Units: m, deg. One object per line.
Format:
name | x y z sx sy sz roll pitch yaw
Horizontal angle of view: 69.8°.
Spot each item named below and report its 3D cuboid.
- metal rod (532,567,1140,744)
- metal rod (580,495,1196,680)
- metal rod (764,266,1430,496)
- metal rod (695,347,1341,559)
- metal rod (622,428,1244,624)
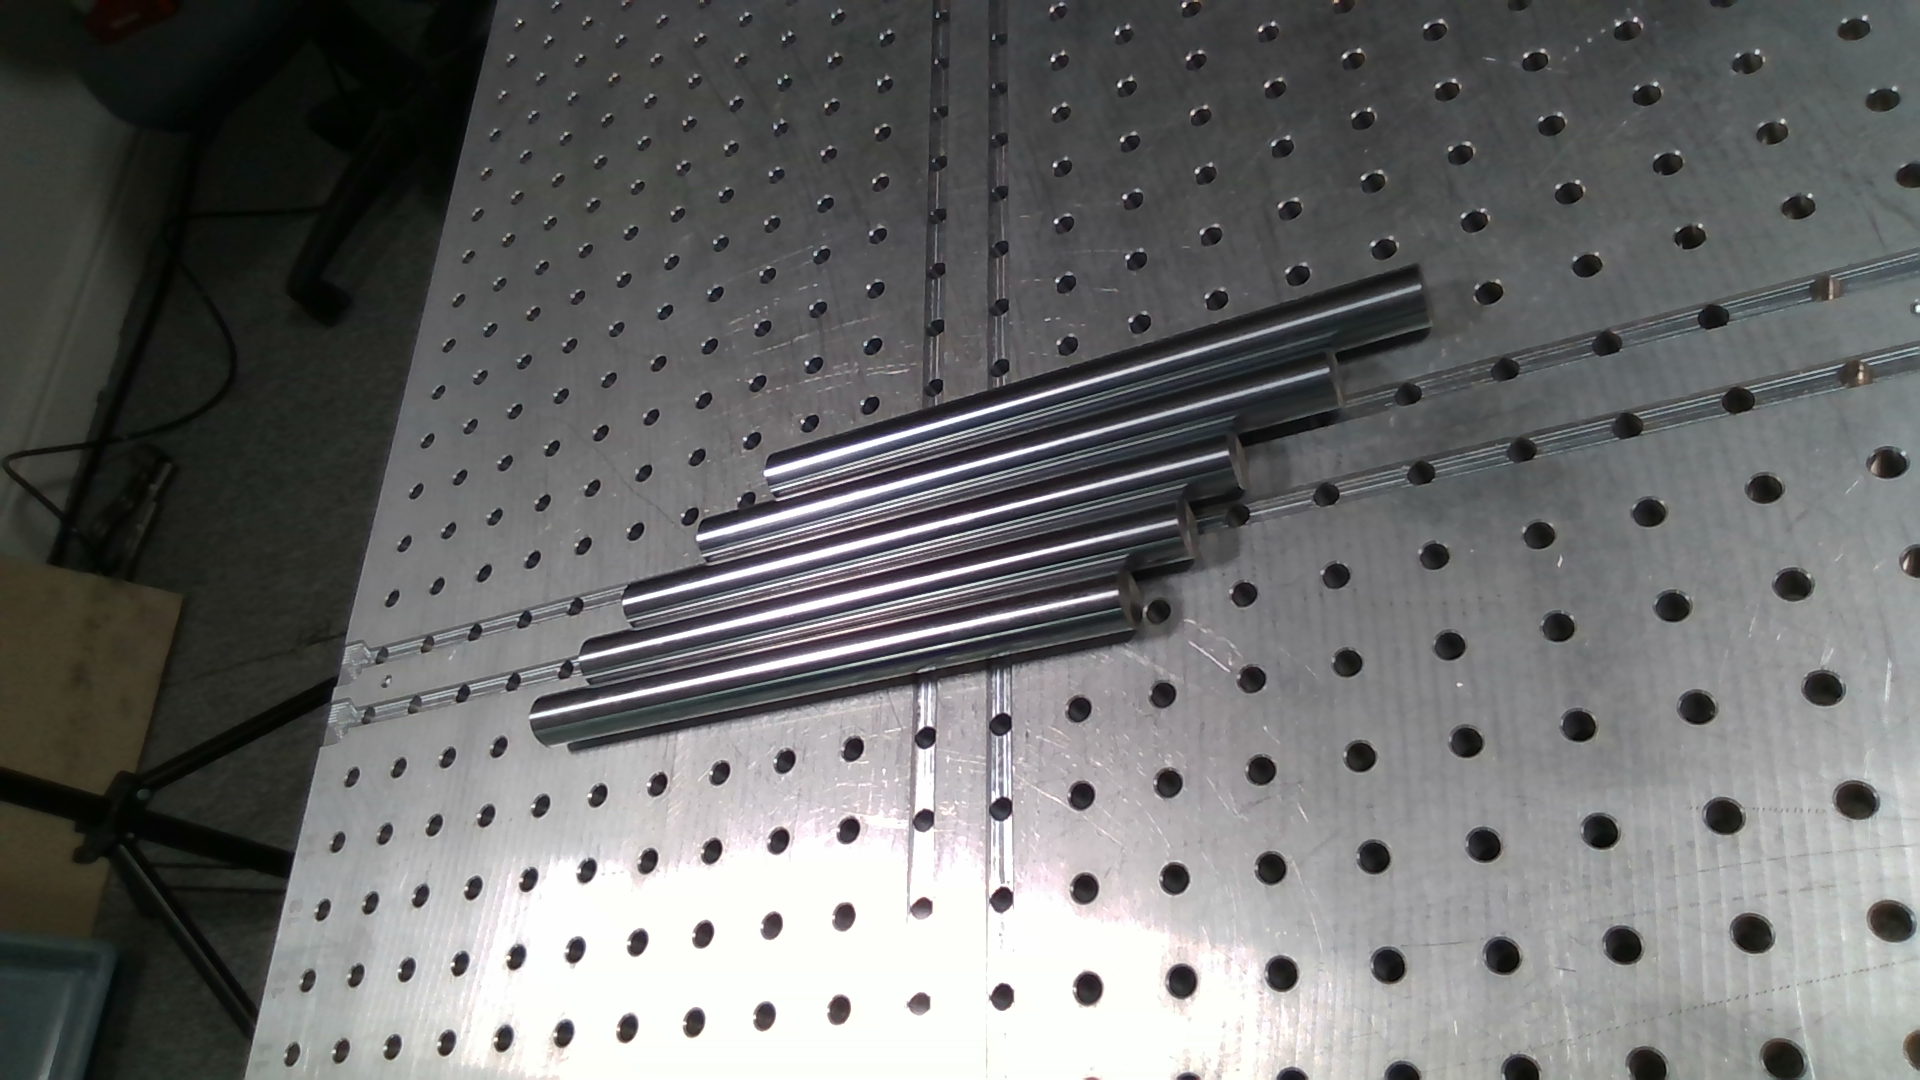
metal rod | -0.066 0.054 0.599 0.300 0.025 0.025 -14 59 25
metal rod | -0.043 0.026 0.600 0.300 0.025 0.025 -14 59 25
metal rod | 0.046 -0.062 0.593 0.300 0.025 0.025 -14 59 25
metal rod | 0.012 -0.031 0.596 0.300 0.025 0.025 -14 59 25
metal rod | -0.023 0.000 0.602 0.300 0.025 0.025 -14 59 25
